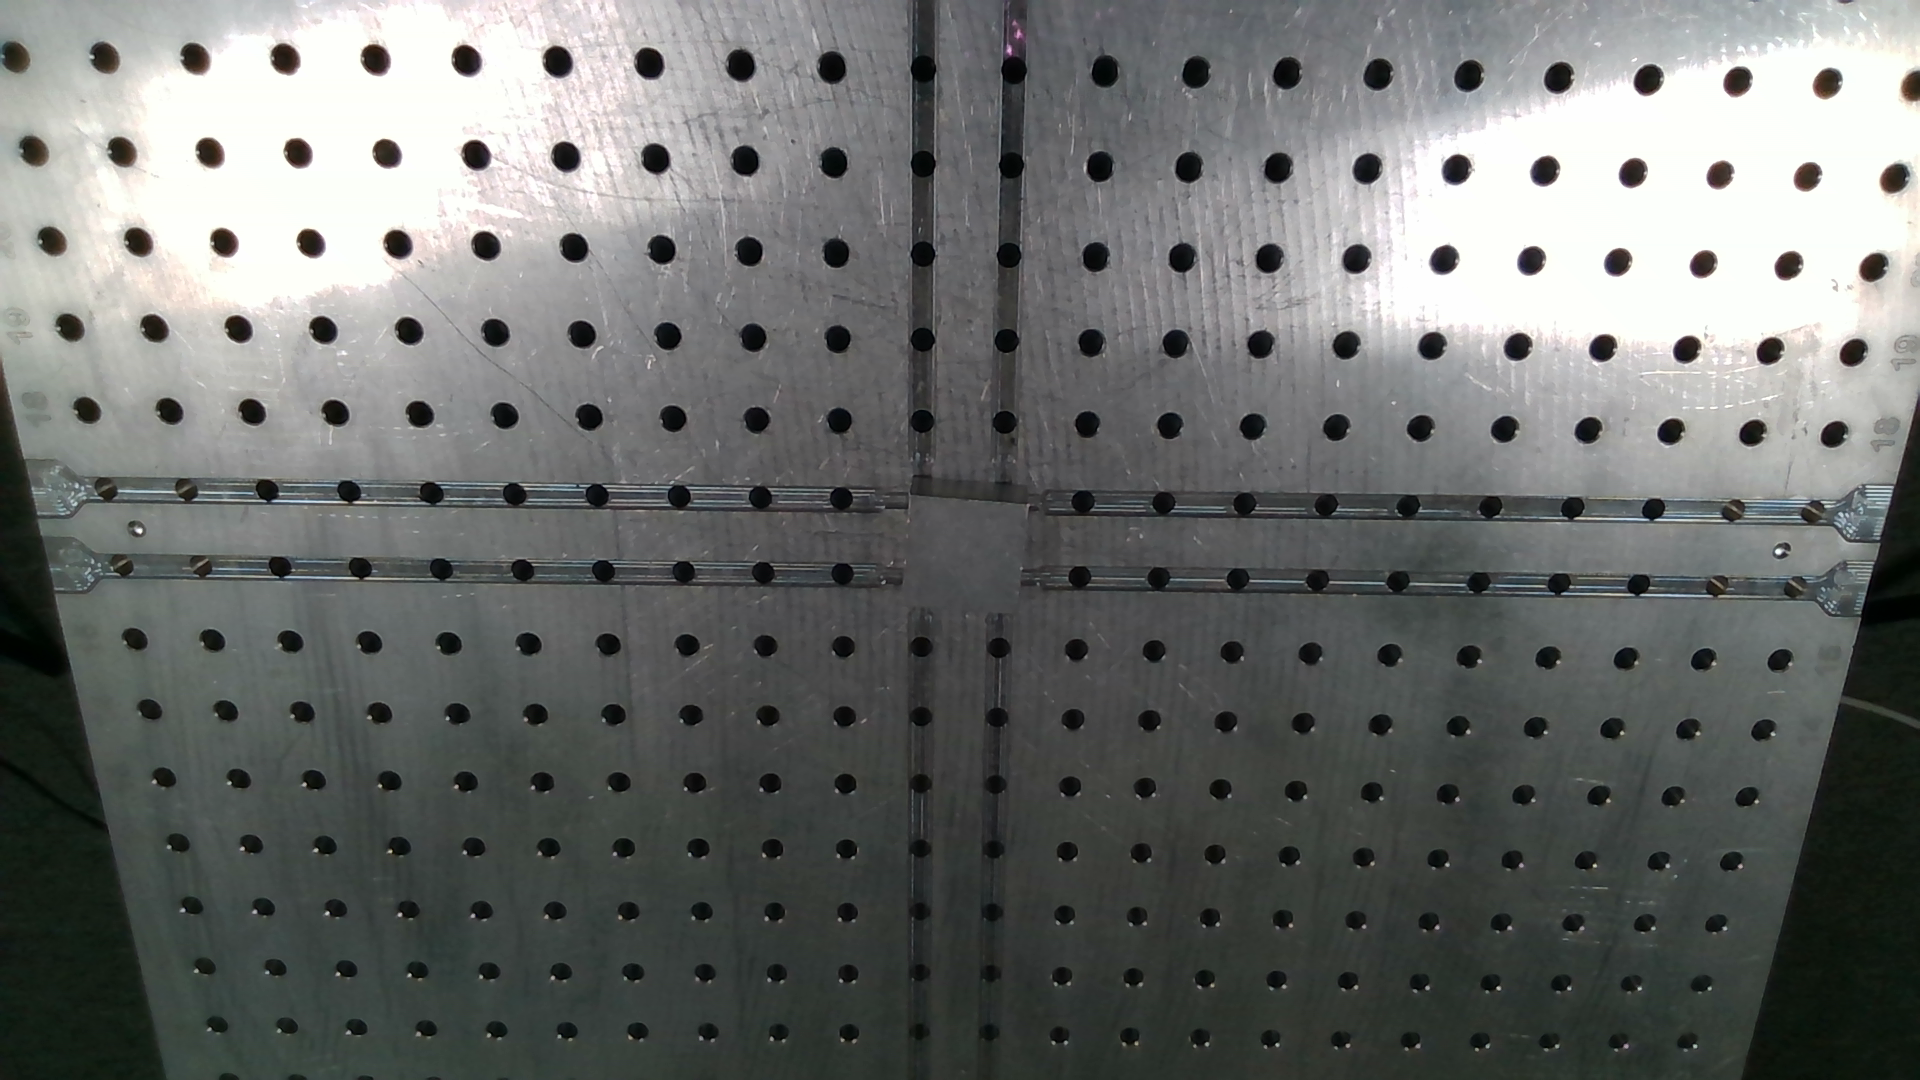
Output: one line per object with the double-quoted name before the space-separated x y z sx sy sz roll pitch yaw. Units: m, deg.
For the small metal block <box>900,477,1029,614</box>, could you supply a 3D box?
"small metal block" 0.002 0.002 0.587 0.050 0.025 0.050 5 110 -2
